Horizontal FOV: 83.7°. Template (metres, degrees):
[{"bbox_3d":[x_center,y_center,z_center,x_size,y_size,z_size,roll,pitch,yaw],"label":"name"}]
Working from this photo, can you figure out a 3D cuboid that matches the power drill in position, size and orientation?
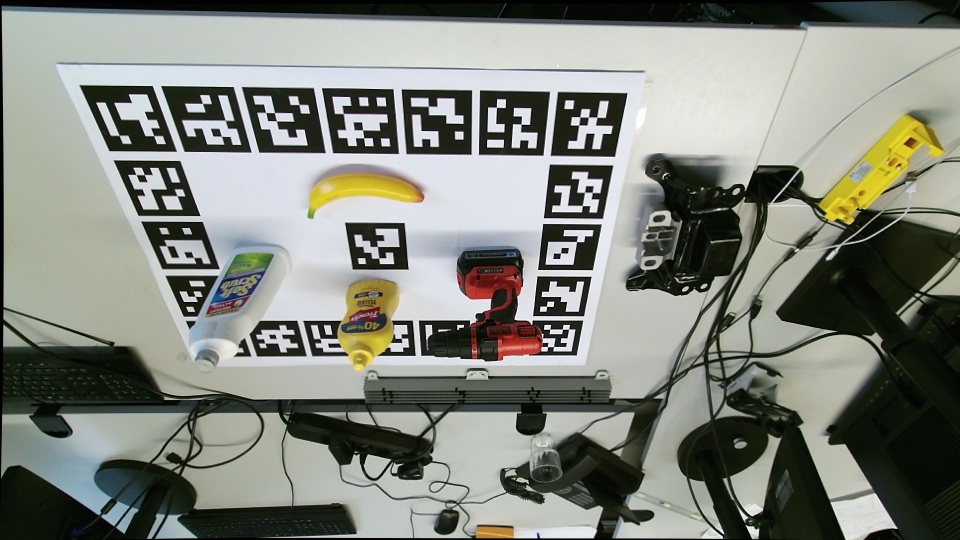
[{"bbox_3d":[-0.003,0.087,0.890,0.185,0.186,0.057,-6,126,-2],"label":"power drill"}]

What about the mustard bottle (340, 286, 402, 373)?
[{"bbox_3d":[-0.195,0.106,0.936,0.096,0.190,0.058,-5,126,4],"label":"mustard bottle"}]

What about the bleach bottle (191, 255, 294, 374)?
[{"bbox_3d":[-0.384,0.072,0.866,0.103,0.249,0.068,7,125,-6],"label":"bleach bottle"}]

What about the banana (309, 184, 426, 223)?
[{"bbox_3d":[-0.188,-0.105,0.864,0.198,0.038,0.074,-5,124,-1],"label":"banana"}]
